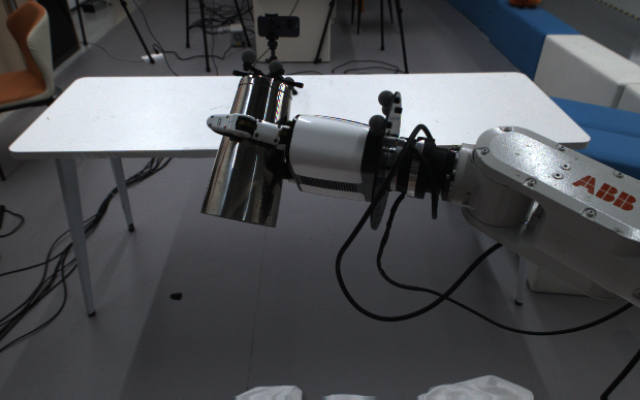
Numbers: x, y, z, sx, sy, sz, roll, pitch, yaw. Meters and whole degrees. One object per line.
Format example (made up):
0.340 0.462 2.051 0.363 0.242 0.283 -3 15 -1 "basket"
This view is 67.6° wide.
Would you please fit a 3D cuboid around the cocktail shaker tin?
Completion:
-0.081 -0.058 0.588 0.093 0.170 0.093 11 -5 1 "cocktail shaker tin"
